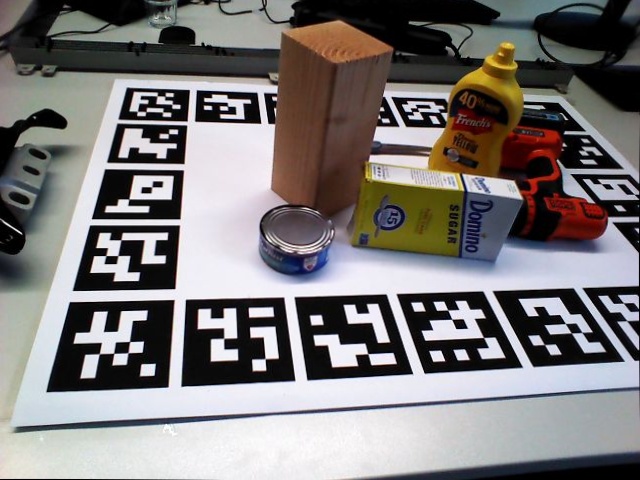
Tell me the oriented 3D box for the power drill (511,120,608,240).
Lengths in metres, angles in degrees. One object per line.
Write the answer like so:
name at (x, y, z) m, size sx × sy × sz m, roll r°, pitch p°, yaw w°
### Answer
power drill at (0.270, -0.083, 0.687) m, size 0.185 × 0.057 × 0.186 m, roll 8°, pitch 51°, yaw 0°

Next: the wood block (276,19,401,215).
wood block at (0.012, -0.134, 0.608) m, size 0.090 × 0.207 × 0.090 m, roll -24°, pitch 54°, yaw -29°

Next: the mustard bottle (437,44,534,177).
mustard bottle at (0.222, -0.160, 0.674) m, size 0.096 × 0.192 × 0.058 m, roll 36°, pitch 51°, yaw 24°

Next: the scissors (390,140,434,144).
scissors at (0.069, -0.144, 0.750) m, size 0.203 × 0.016 × 0.087 m, roll 0°, pitch 41°, yaw -8°

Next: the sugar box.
sugar box at (0.142, -0.032, 0.593) m, size 0.177 × 0.093 × 0.045 m, roll 8°, pitch 41°, yaw -2°

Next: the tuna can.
tuna can at (-0.022, -0.006, 0.577) m, size 0.086 × 0.034 × 0.085 m, roll 5°, pitch 45°, yaw -5°
